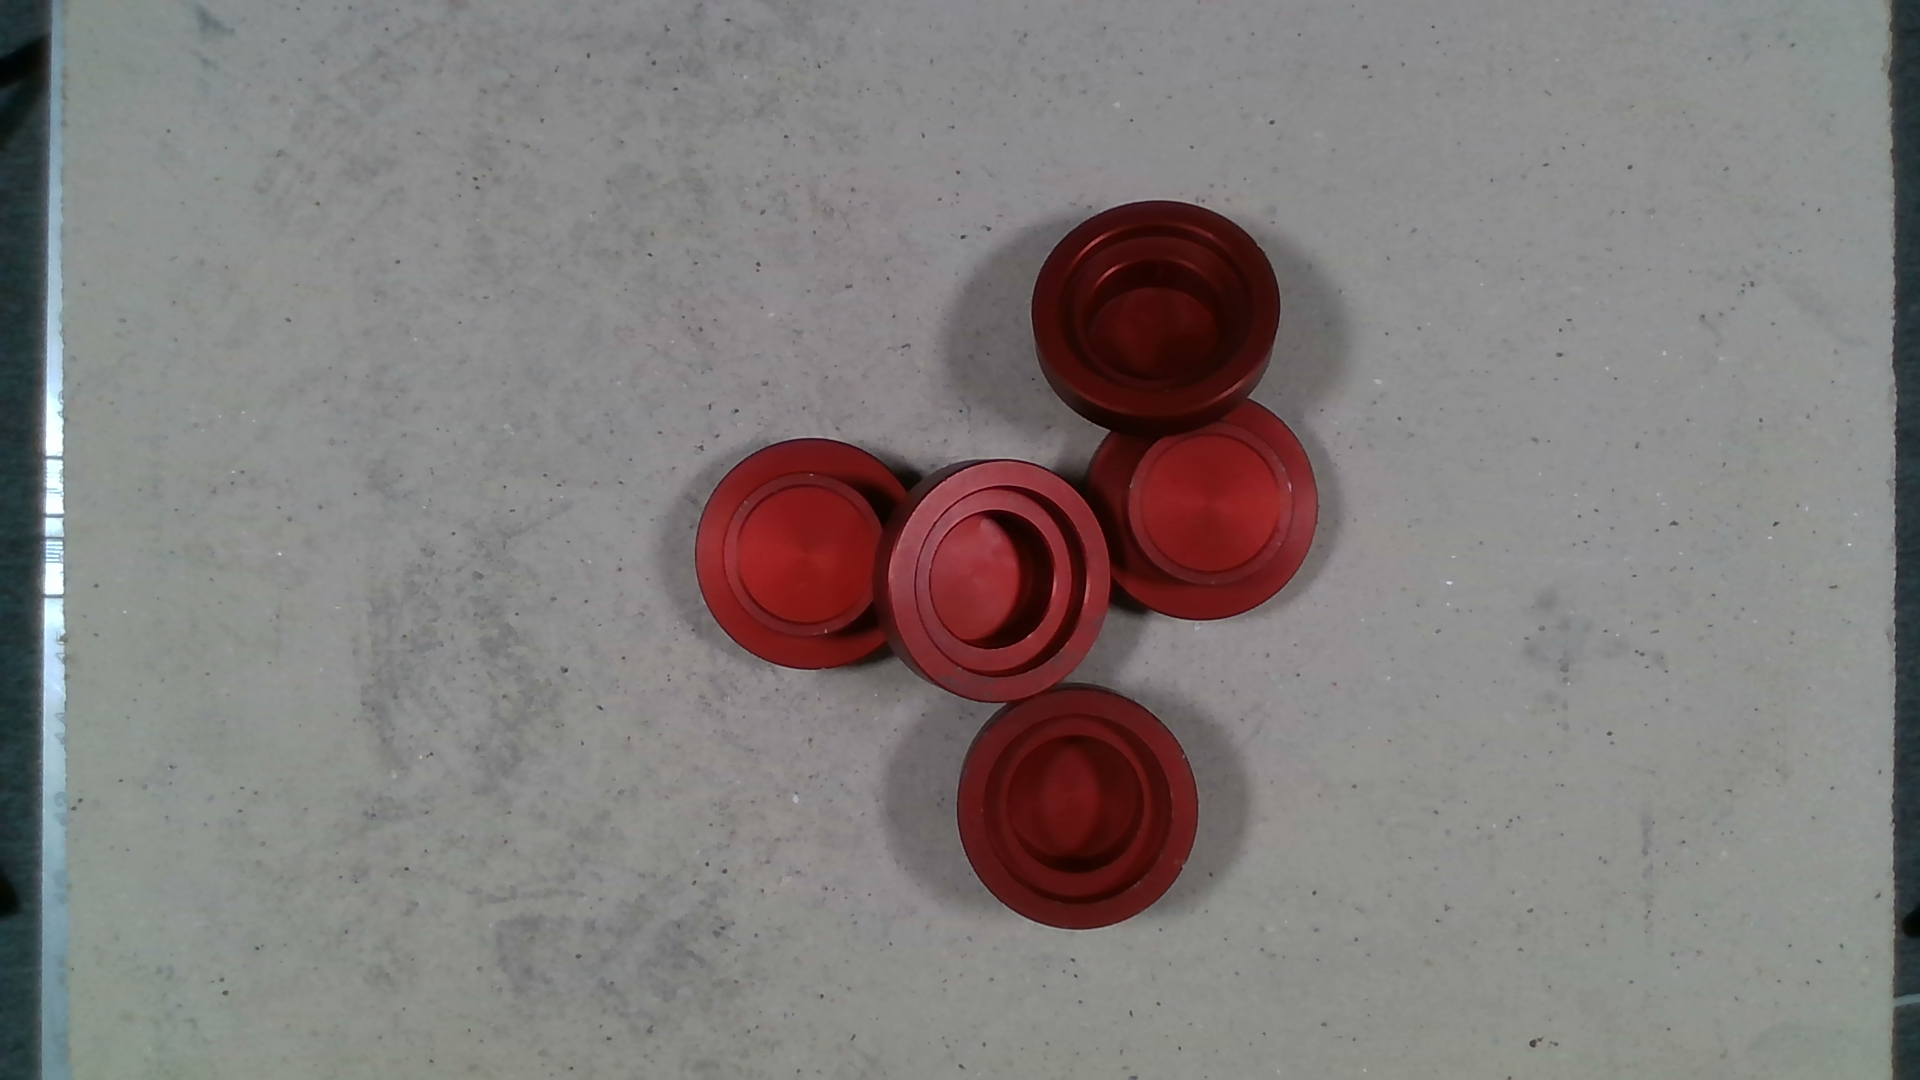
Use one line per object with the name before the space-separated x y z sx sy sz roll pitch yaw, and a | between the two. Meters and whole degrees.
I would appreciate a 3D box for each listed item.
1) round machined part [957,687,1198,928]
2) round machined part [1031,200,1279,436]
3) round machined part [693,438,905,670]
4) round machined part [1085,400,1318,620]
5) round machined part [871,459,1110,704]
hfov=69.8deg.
round machined part | 0.048 0.109 0.580 0.098 0.042 0.098 0 90 0
round machined part | 0.080 -0.087 0.567 0.098 0.042 0.098 -2 69 6
round machined part | -0.063 0.006 0.578 0.098 0.042 0.098 0 90 0
round machined part | 0.102 -0.015 0.578 0.098 0.042 0.098 0 90 0
round machined part | 0.009 0.016 0.568 0.098 0.042 0.098 -1 93 -23
